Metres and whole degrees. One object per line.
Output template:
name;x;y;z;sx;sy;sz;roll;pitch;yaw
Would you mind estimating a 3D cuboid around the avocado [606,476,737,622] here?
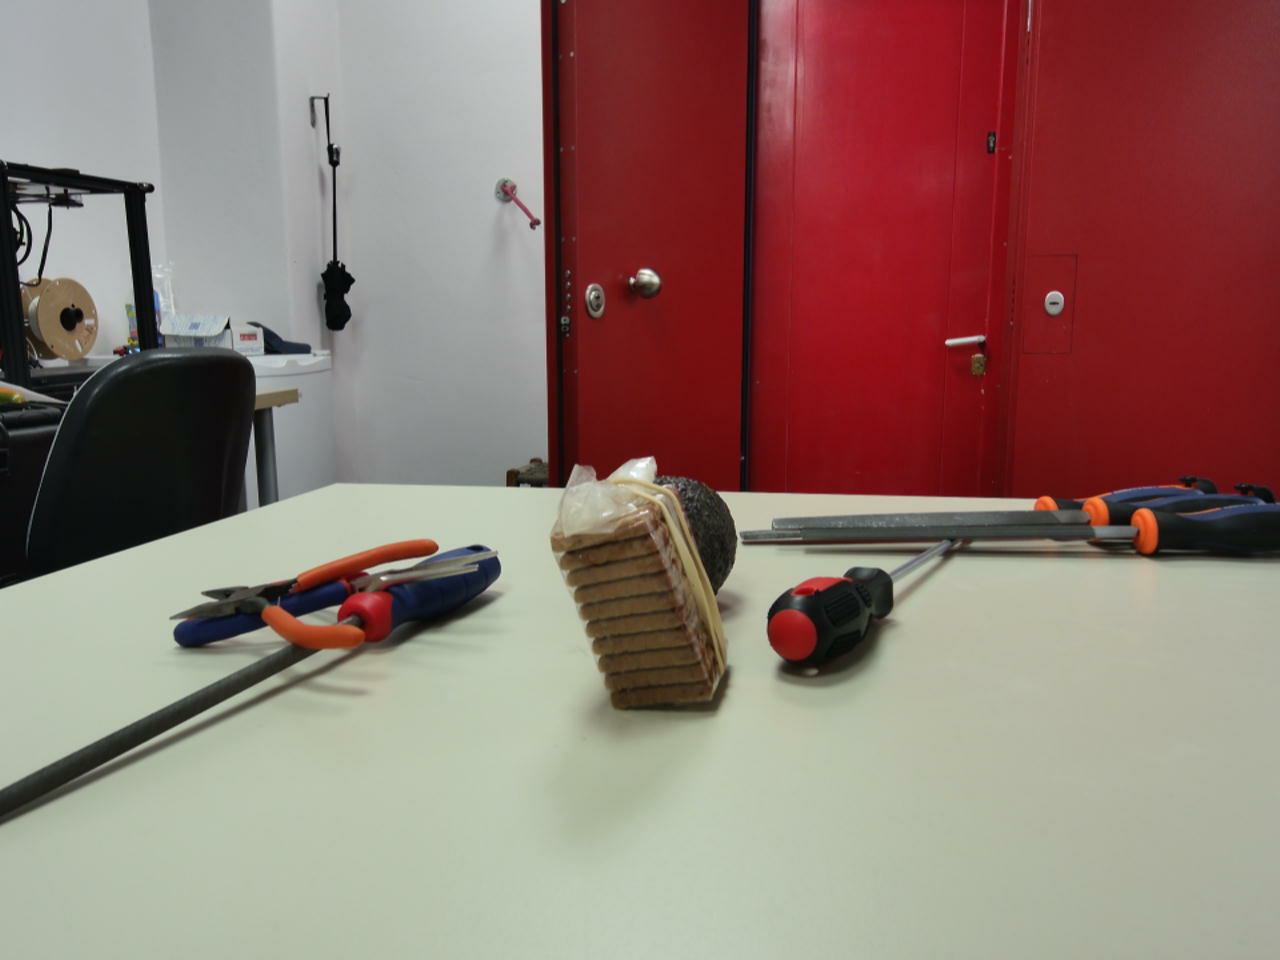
avocado;0.013;0.033;0.523;0.070;0.069;0.090;6;8;37
